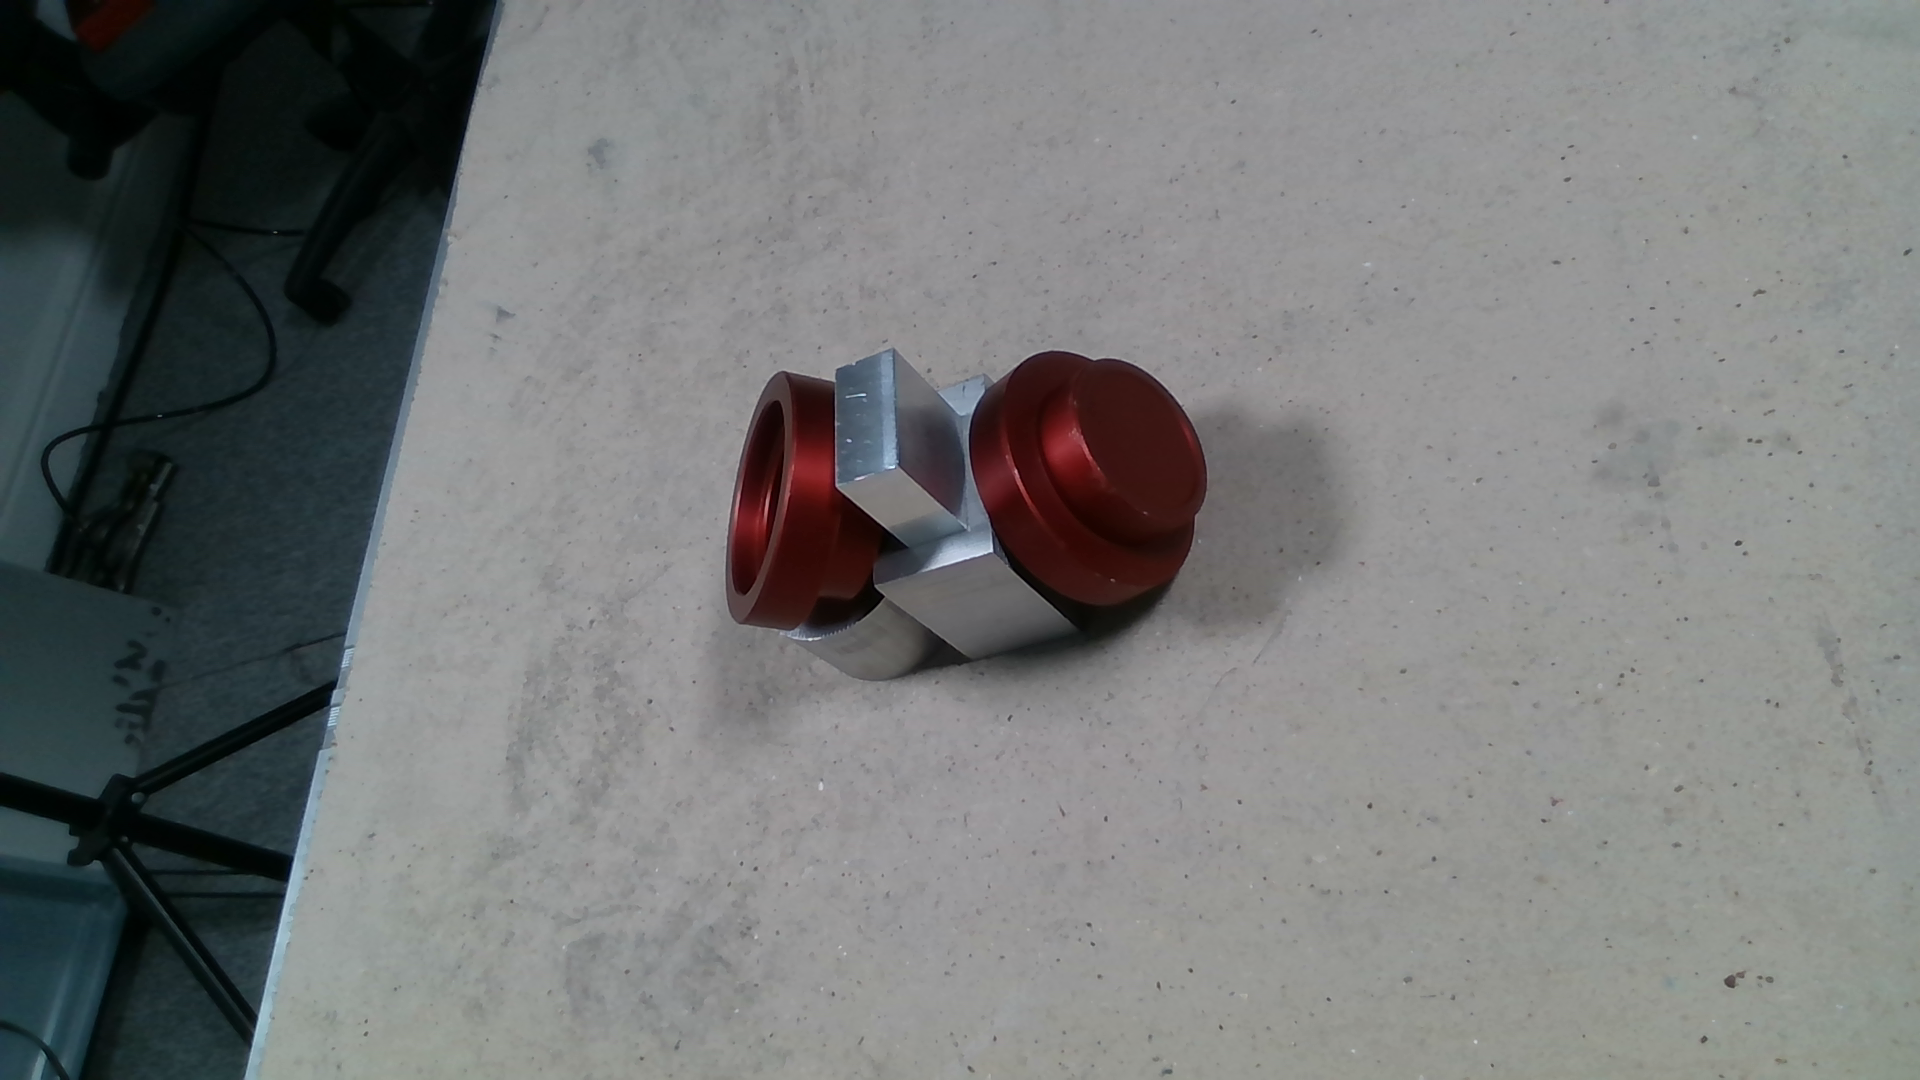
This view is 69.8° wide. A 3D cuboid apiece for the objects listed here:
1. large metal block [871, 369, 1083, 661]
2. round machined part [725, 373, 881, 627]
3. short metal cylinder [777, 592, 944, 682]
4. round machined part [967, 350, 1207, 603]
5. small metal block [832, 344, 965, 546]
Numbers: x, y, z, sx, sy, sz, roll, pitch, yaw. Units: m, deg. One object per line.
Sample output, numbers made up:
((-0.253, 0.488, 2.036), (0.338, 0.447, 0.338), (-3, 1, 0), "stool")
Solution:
((0.007, -0.008, 0.549), (0.050, 0.080, 0.080), (-16, 58, 24), "large metal block")
((-0.059, -0.014, 0.533), (0.098, 0.042, 0.098), (-170, 91, -69), "round machined part")
((-0.043, 0.014, 0.589), (0.080, 0.050, 0.080), (-14, 59, 25), "short metal cylinder")
((0.054, -0.029, 0.516), (0.042, 0.098, 0.098), (-35, 48, 44), "round machined part")
((-0.022, -0.033, 0.497), (0.025, 0.050, 0.050), (-17, 58, 23), "small metal block")
